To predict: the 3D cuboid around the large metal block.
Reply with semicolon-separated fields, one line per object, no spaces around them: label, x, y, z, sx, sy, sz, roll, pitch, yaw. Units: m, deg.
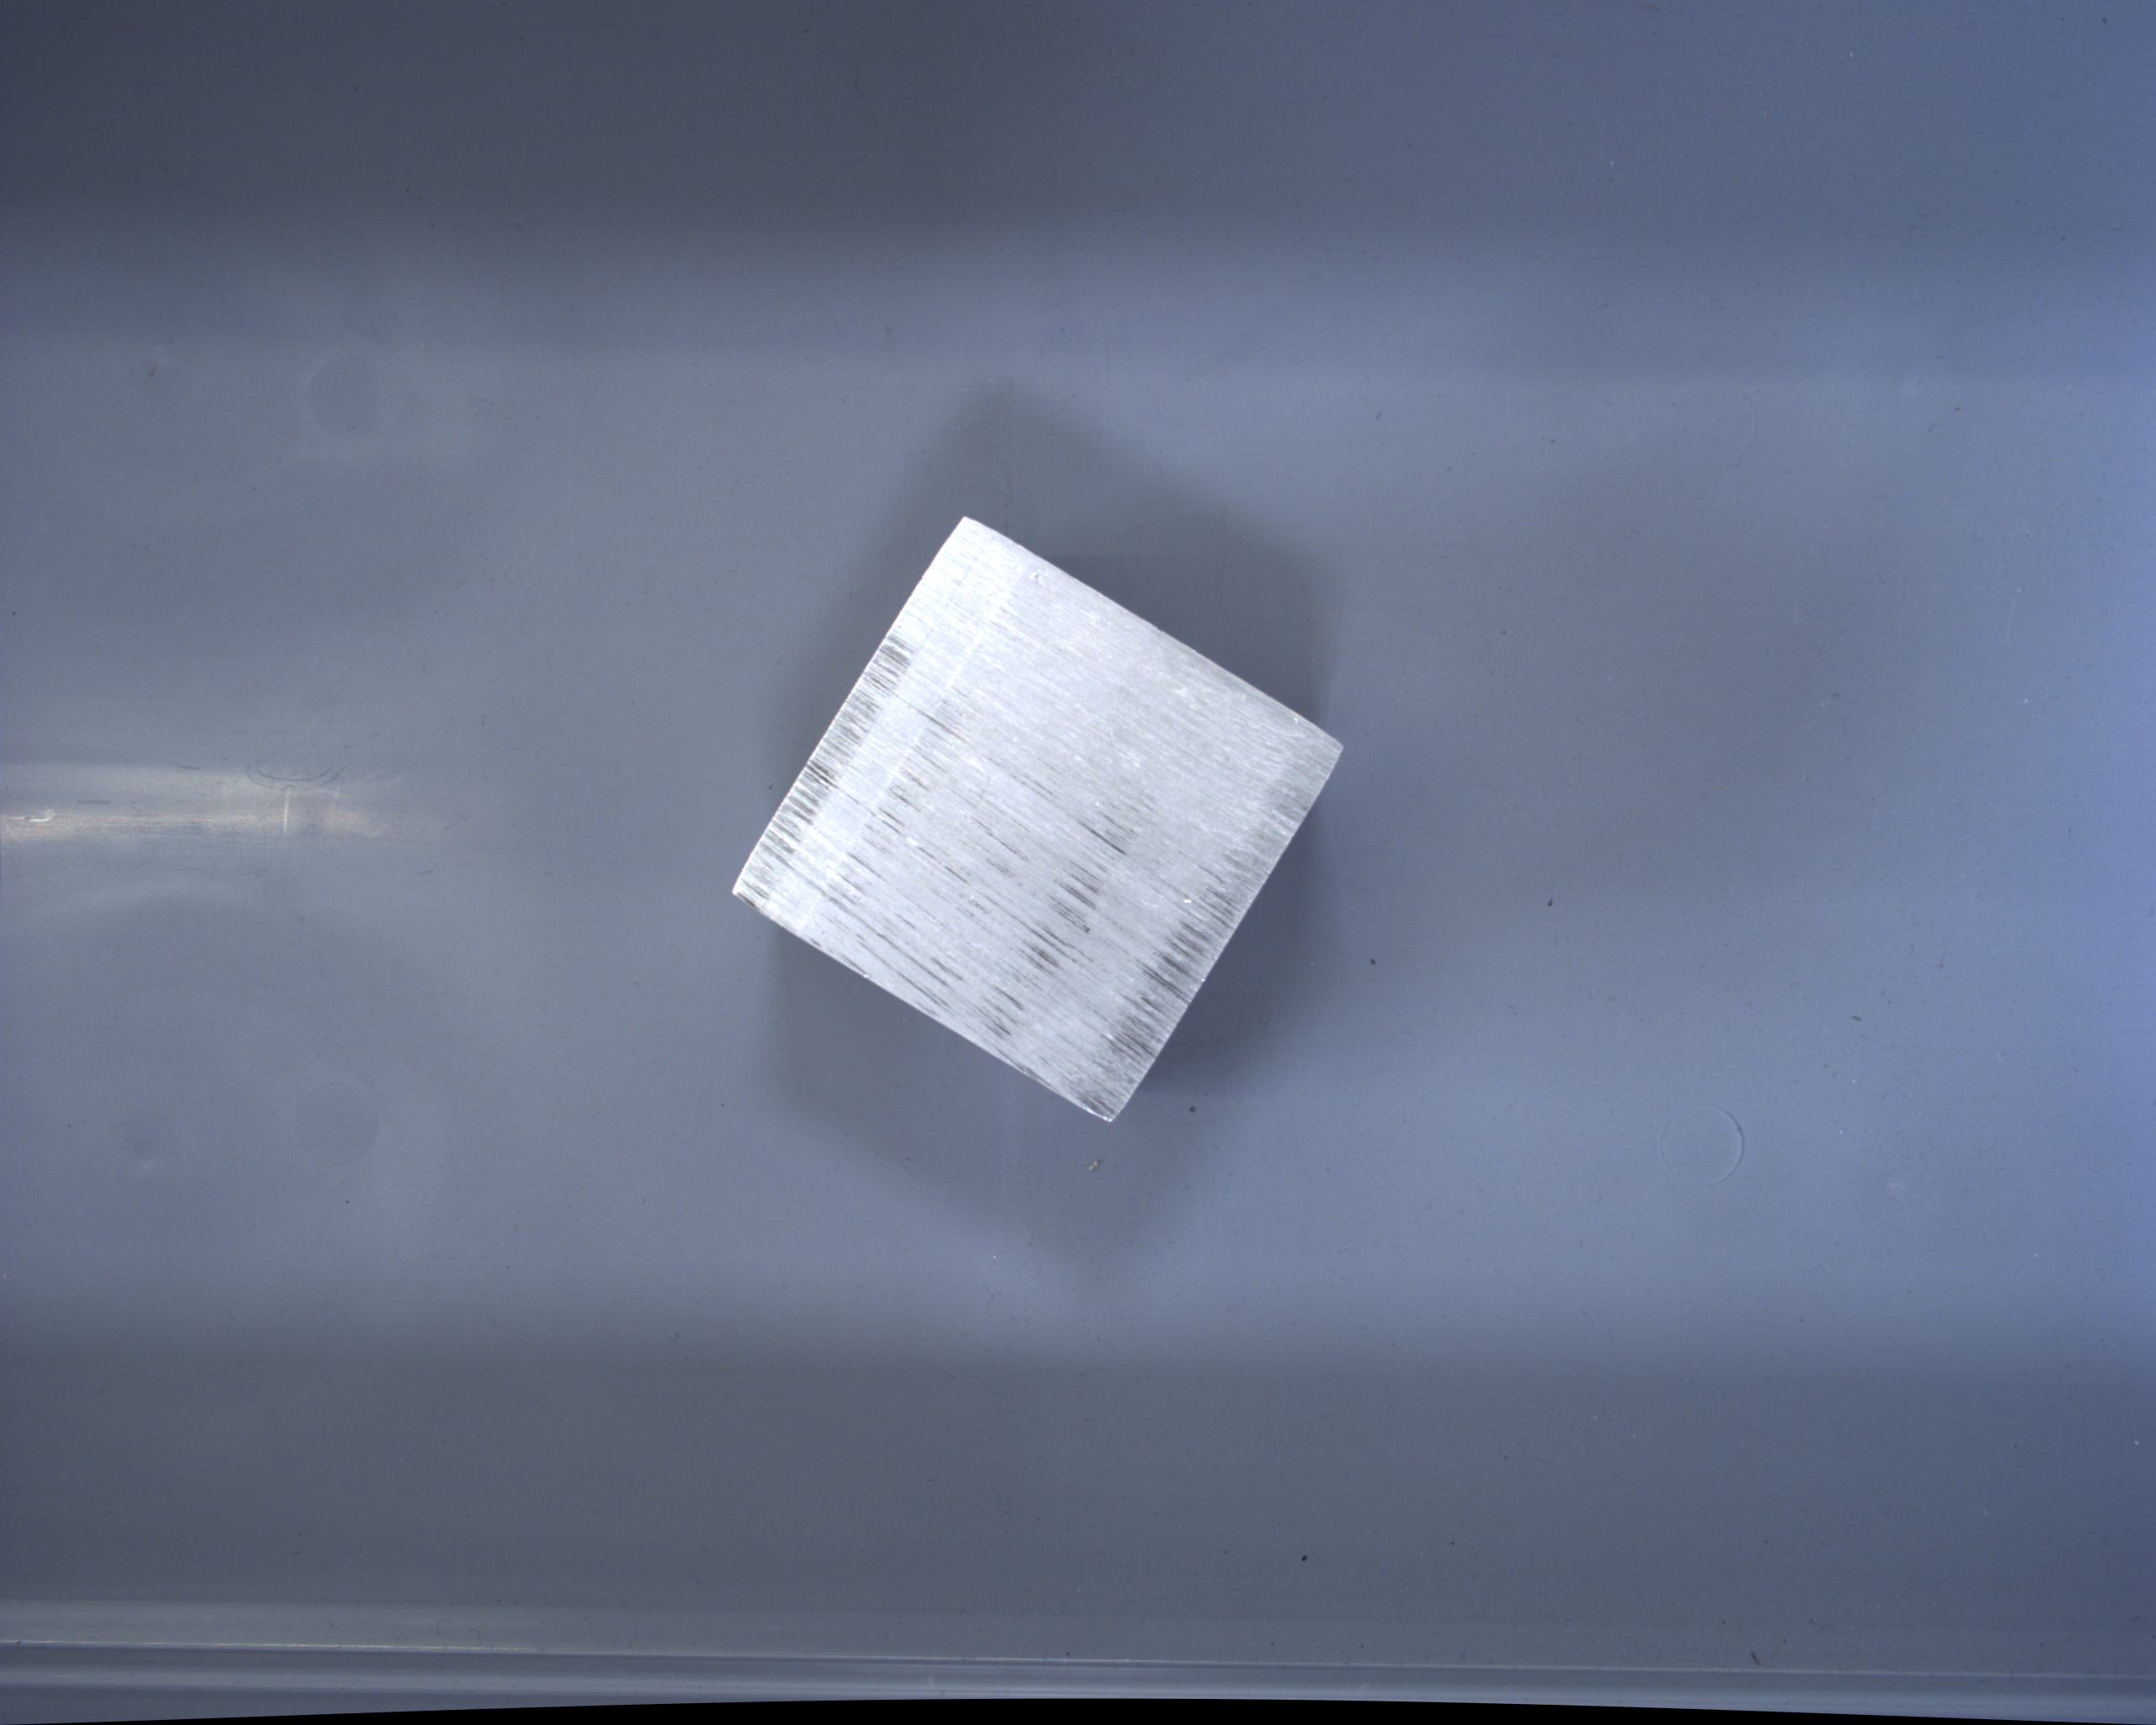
large metal block;-0.007;-0.008;0.395;0.080;0.050;0.080;32;89;-1
